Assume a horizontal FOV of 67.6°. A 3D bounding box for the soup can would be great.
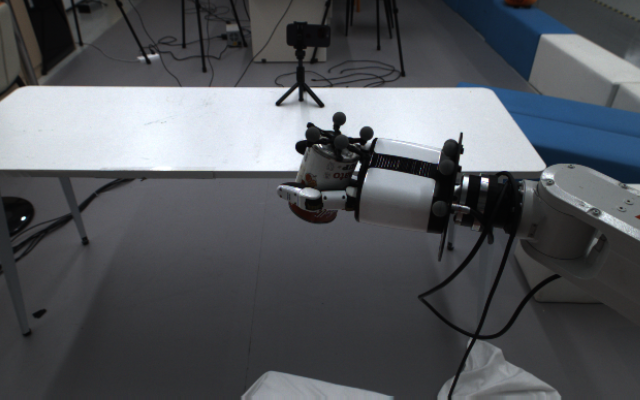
[{"bbox_3d":[0.006,-0.029,0.617,0.067,0.101,0.067,14,35,-10],"label":"soup can"}]
